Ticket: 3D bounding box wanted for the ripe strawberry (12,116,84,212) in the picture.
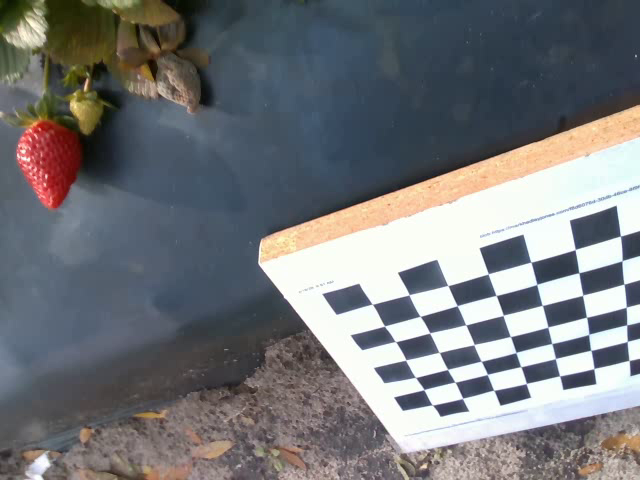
[{"bbox_3d":[-0.154,-0.042,0.354,0.045,0.058,0.051,-14,-3,14],"label":"ripe strawberry"}]
